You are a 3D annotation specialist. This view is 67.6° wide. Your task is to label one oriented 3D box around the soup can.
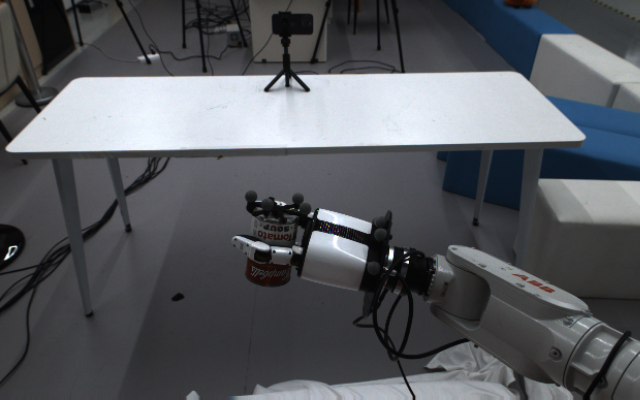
[{"bbox_3d":[-0.068,0.065,0.698,0.067,0.101,0.067,8,19,-3],"label":"soup can"}]
